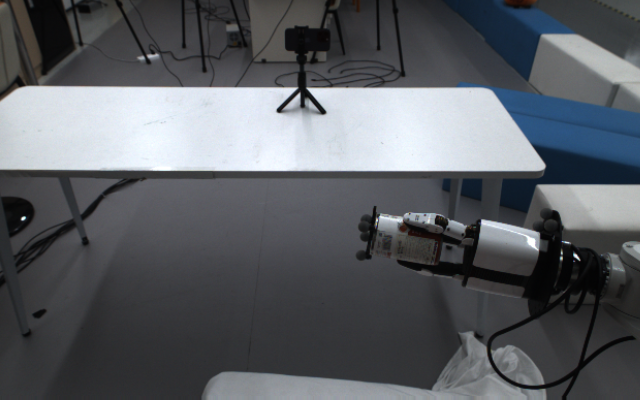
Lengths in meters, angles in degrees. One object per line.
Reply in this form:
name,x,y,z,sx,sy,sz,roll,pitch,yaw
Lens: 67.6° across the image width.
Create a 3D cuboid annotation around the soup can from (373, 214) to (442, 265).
soup can,0.136,0.061,0.744,0.101,0.067,0.067,9,35,9
